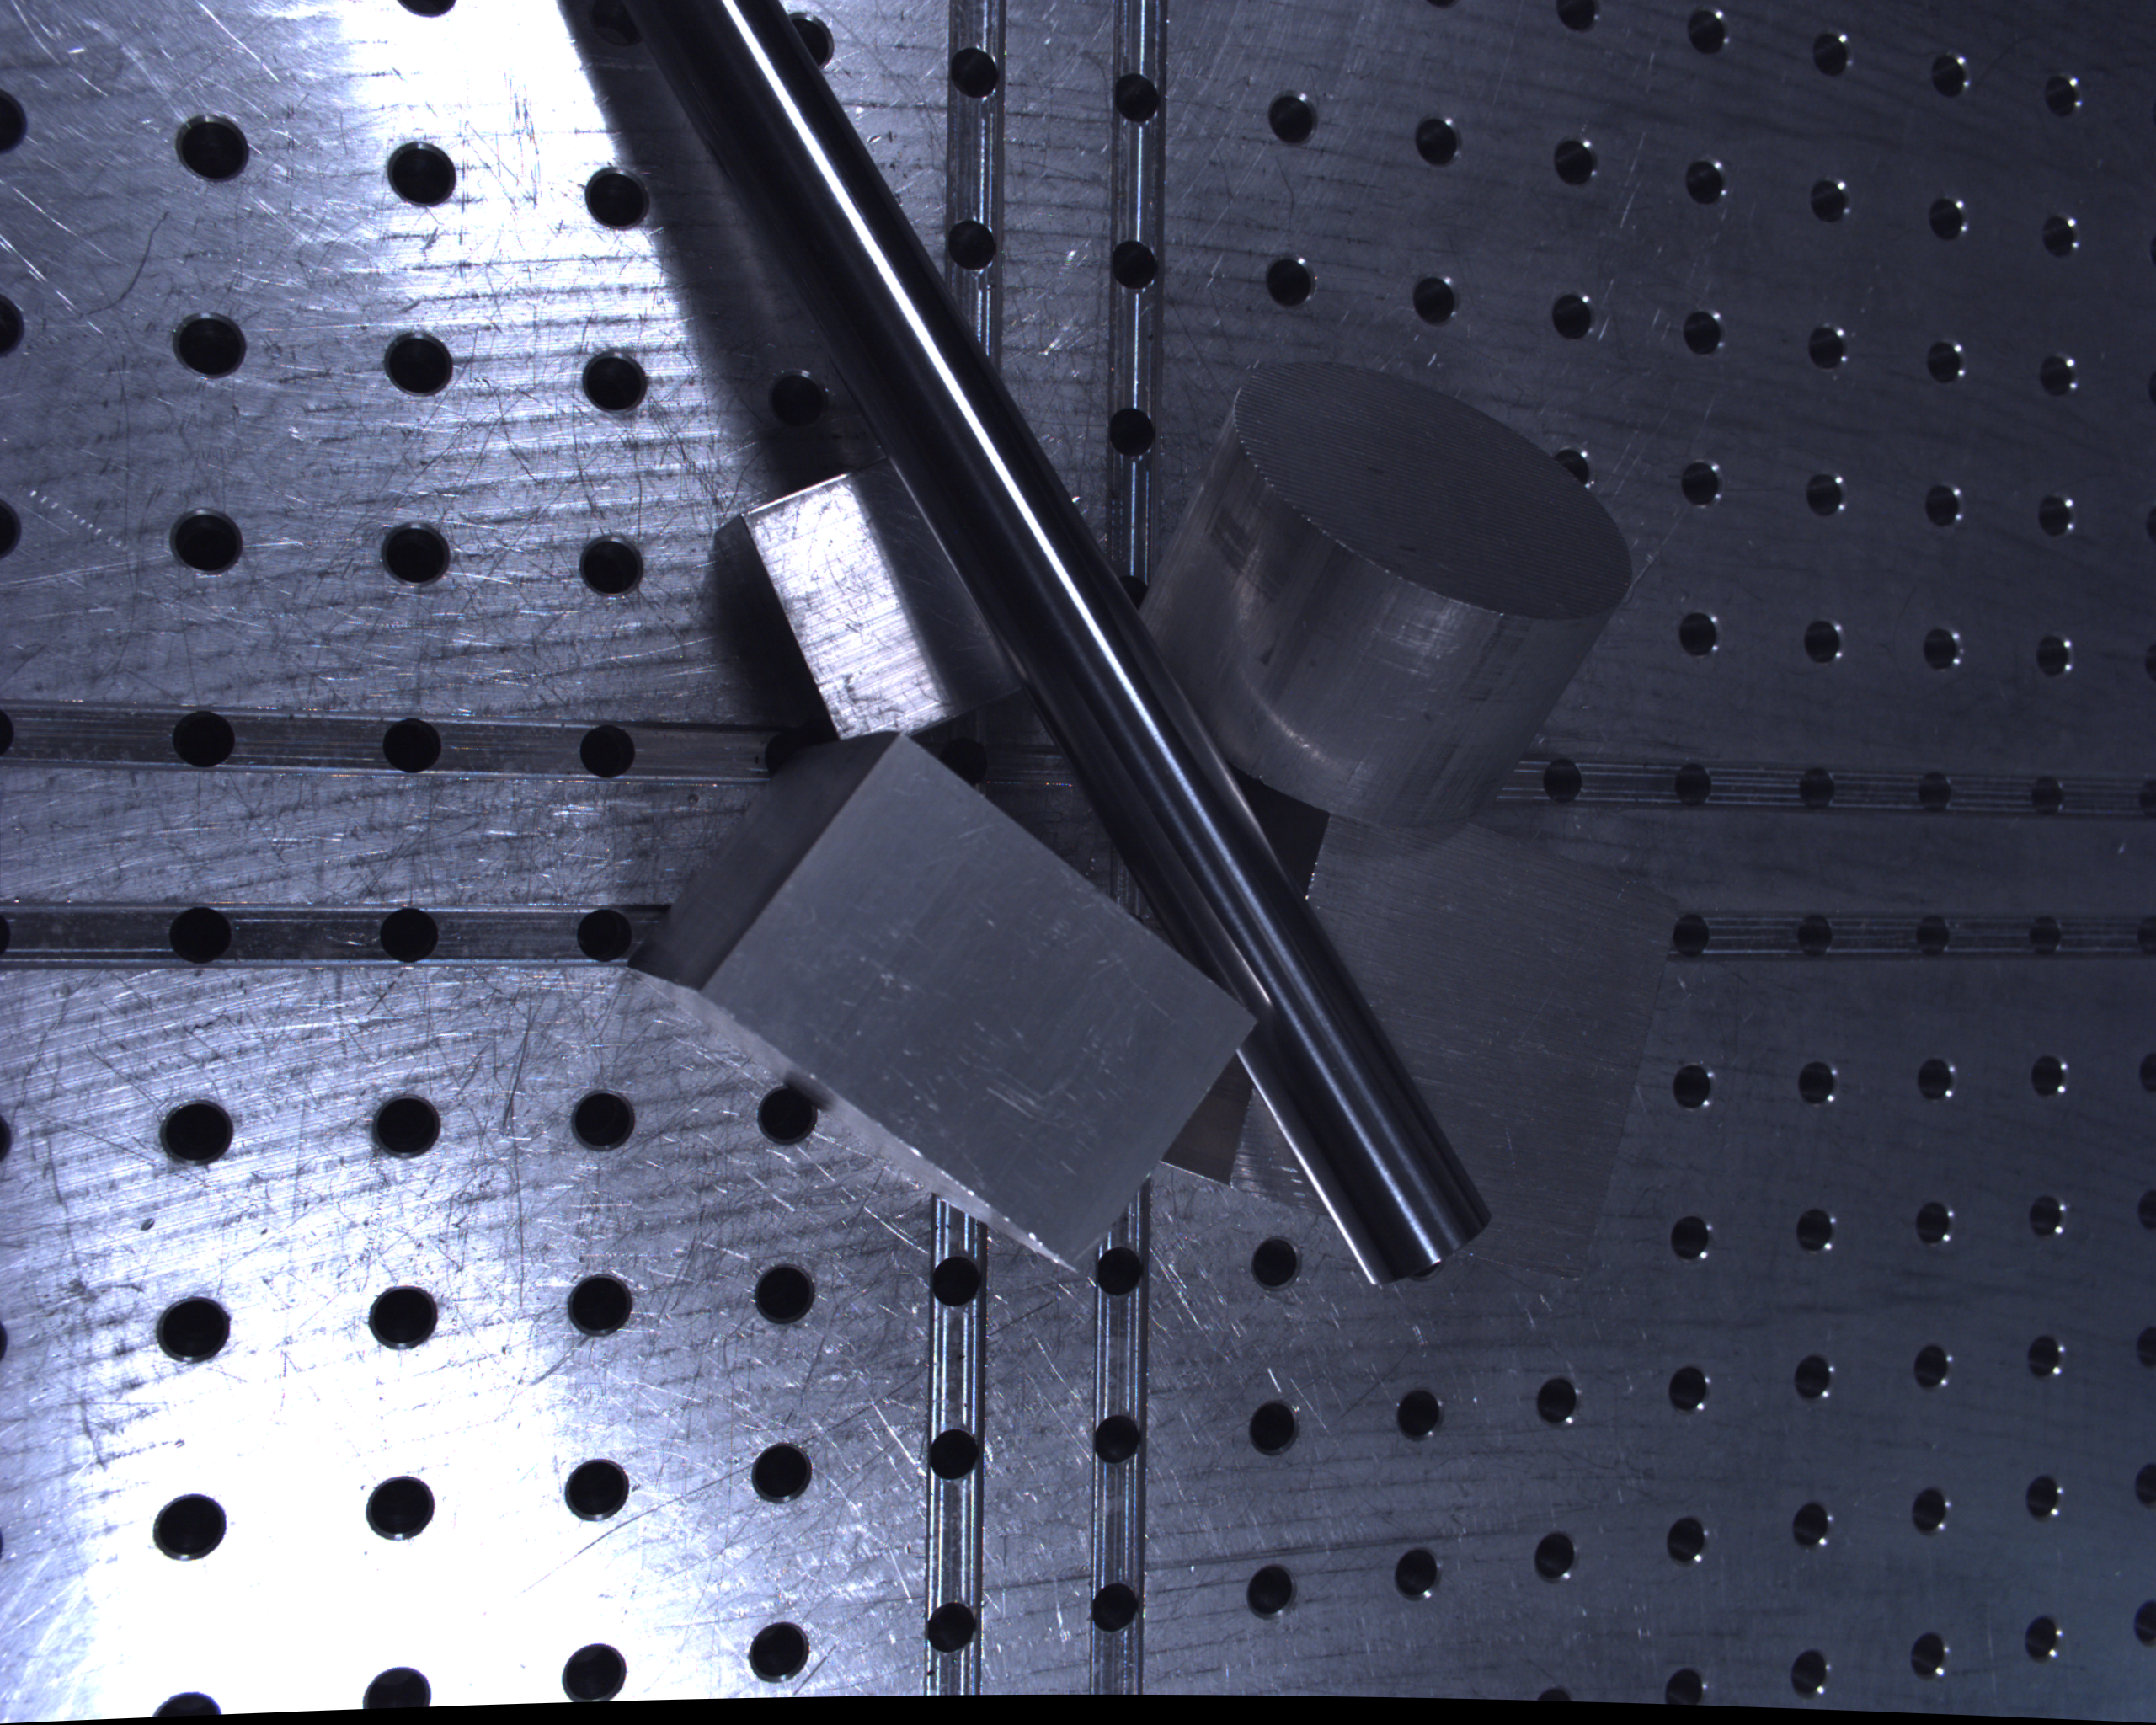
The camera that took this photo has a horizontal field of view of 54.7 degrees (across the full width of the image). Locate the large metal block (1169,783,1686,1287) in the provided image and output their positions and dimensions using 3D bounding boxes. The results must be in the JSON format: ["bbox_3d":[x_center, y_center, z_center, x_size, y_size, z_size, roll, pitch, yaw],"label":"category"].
[{"bbox_3d":[0.066,0.034,0.424,0.081,0.050,0.080,19,84,-20],"label":"large metal block"}]

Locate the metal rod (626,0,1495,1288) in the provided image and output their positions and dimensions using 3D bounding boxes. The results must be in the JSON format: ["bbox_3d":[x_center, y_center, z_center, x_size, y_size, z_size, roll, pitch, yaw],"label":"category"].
[{"bbox_3d":[-0.011,-0.060,0.377,0.025,0.025,0.299,-30,89,-18],"label":"metal rod"}]

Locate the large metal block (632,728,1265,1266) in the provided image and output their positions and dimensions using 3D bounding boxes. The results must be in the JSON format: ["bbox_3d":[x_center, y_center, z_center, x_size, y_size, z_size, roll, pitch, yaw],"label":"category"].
[{"bbox_3d":[-0.027,0.022,0.374,0.080,0.080,0.050,39,78,-16],"label":"large metal block"}]

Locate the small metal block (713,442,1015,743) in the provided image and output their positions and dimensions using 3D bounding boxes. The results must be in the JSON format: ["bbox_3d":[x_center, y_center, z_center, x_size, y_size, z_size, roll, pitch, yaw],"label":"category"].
[{"bbox_3d":[-0.035,-0.051,0.401,0.050,0.025,0.050,-26,99,-19],"label":"small metal block"}]

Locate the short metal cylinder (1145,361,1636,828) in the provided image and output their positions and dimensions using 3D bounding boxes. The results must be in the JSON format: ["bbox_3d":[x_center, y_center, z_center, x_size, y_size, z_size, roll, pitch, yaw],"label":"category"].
[{"bbox_3d":[0.058,-0.052,0.399,0.081,0.080,0.050,9,131,-20],"label":"short metal cylinder"}]
